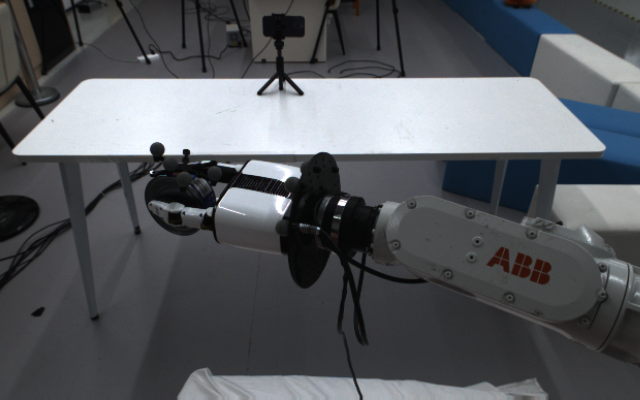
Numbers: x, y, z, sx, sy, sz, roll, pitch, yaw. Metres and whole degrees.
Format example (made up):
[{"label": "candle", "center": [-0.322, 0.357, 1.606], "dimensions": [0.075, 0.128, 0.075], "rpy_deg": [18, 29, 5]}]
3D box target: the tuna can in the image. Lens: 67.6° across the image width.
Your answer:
[{"label": "tuna can", "center": [-0.175, 0.002, 0.617], "dimensions": [0.085, 0.085, 0.034], "rpy_deg": [13, 30, 15]}]
